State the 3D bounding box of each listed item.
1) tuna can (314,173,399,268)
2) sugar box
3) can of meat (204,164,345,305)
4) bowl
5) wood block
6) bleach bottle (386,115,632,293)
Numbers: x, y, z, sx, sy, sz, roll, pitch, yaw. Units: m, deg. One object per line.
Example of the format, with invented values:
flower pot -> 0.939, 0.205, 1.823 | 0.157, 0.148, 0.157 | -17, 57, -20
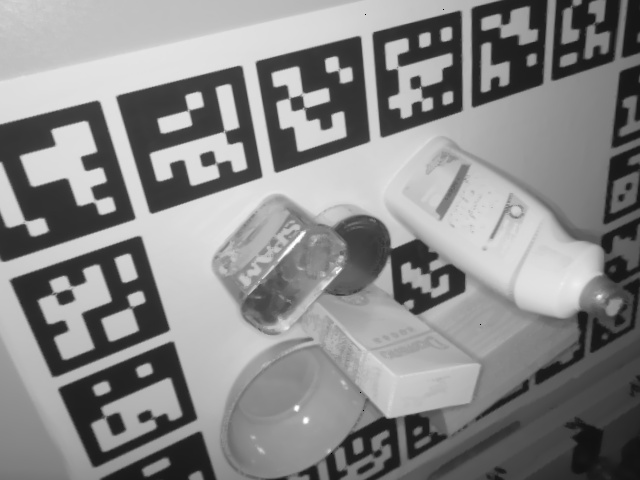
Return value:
tuna can -> 0.029, -0.019, 0.652 | 0.087, 0.033, 0.085 | -11, 114, -25
sugar box -> 0.047, 0.068, 0.614 | 0.094, 0.175, 0.045 | 2, 110, -33
can of meat -> -0.042, -0.009, 0.594 | 0.102, 0.083, 0.058 | -44, 129, -3
bowl -> -0.043, 0.140, 0.674 | 0.164, 0.055, 0.160 | -15, 118, -27
wood block -> 0.200, 0.108, 0.779 | 0.208, 0.089, 0.090 | -26, 118, -16
bleach bottle -> 0.161, -0.029, 0.593 | 0.103, 0.249, 0.068 | -41, 126, -7
